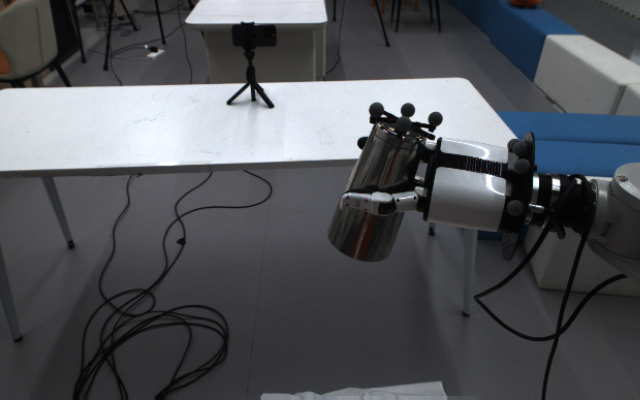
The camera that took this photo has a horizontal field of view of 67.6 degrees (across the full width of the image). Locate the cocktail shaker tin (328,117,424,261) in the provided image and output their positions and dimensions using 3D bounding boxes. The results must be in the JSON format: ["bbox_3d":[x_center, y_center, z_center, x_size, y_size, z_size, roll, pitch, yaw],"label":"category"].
[{"bbox_3d":[0.079,-0.017,0.625,0.093,0.170,0.093,12,29,-7],"label":"cocktail shaker tin"}]
